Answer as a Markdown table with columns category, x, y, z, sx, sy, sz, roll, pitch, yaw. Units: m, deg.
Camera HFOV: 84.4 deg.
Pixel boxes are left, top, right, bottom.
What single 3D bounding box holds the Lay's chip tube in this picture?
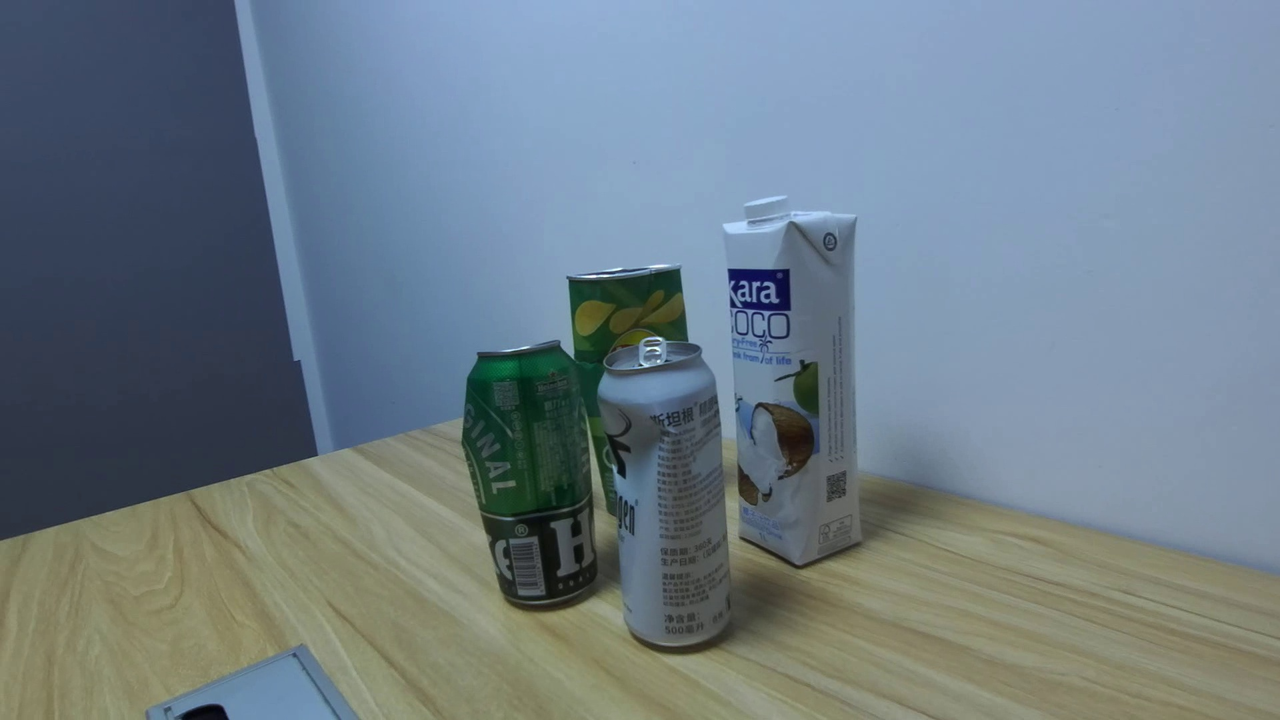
| category | x | y | z | sx | sy | sz | roll | pitch | yaw |
| --- | --- | --- | --- | --- | --- | --- | --- | --- | --- |
| Lay's chip tube | -0.003 | 0.026 | 0.580 | 0.068 | 0.199 | 0.075 | 2 | 11 | 44 |

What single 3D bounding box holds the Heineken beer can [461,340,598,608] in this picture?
| category | x | y | z | sx | sy | sz | roll | pitch | yaw |
| --- | --- | --- | --- | --- | --- | --- | --- | --- | --- |
| Heineken beer can | -0.069 | 0.074 | 0.468 | 0.068 | 0.168 | 0.069 | -4 | 7 | 25 |

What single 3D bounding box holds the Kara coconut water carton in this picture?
| category | x | y | z | sx | sy | sz | roll | pitch | yaw |
| --- | --- | --- | --- | --- | --- | --- | --- | --- | --- |
| Kara coconut water carton | 0.106 | 0.013 | 0.492 | 0.075 | 0.245 | 0.076 | -10 | 12 | -31 |

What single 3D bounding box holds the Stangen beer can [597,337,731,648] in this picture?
| category | x | y | z | sx | sy | sz | roll | pitch | yaw |
| --- | --- | --- | --- | --- | --- | --- | --- | --- | --- |
| Stangen beer can | 0.014 | 0.076 | 0.406 | 0.069 | 0.173 | 0.070 | -2 | 12 | 17 |
